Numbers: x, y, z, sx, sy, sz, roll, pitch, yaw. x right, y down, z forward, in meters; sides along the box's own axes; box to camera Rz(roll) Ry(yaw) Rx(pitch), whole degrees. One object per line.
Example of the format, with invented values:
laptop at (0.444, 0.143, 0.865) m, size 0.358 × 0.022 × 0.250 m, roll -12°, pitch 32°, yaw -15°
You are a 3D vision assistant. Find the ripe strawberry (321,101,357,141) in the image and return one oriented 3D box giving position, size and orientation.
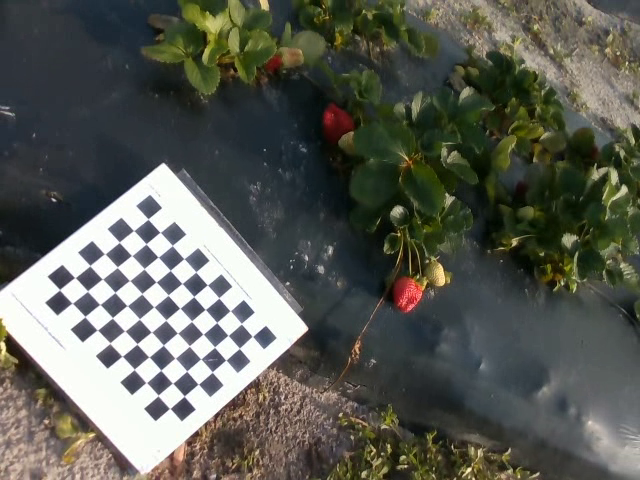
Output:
ripe strawberry at (0.023, -0.188, 0.989) m, size 0.058 × 0.071 × 0.057 m, roll -31°, pitch 30°, yaw -13°

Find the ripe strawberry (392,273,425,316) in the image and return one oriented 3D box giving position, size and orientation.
ripe strawberry at (0.126, 0.079, 0.903) m, size 0.048 × 0.050 × 0.035 m, roll 29°, pitch -14°, yaw -11°
